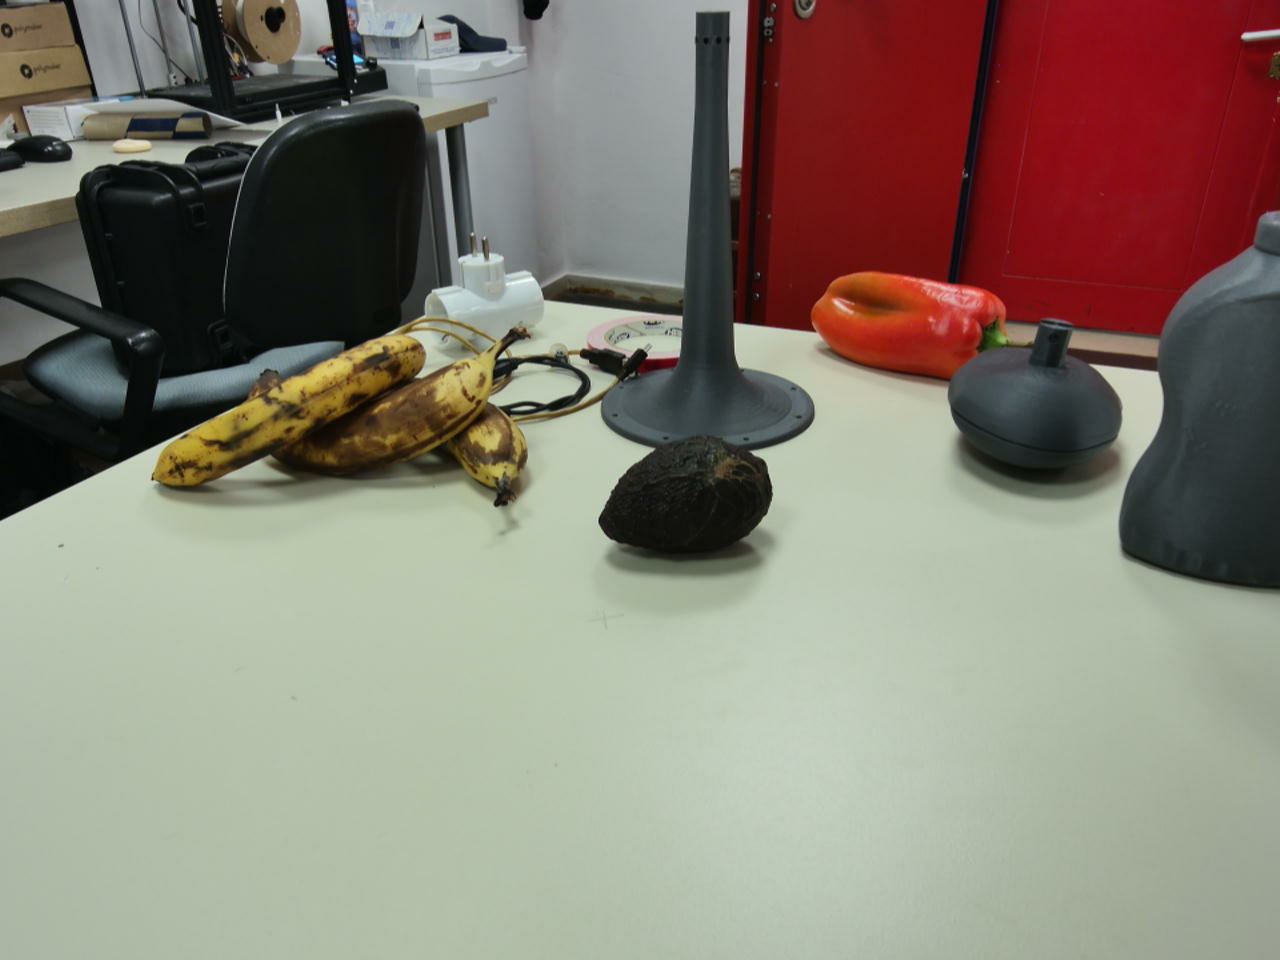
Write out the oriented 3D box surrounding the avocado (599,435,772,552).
[{"bbox_3d":[0.025,0.007,0.538,0.092,0.062,0.062,1,25,1],"label":"avocado"}]
